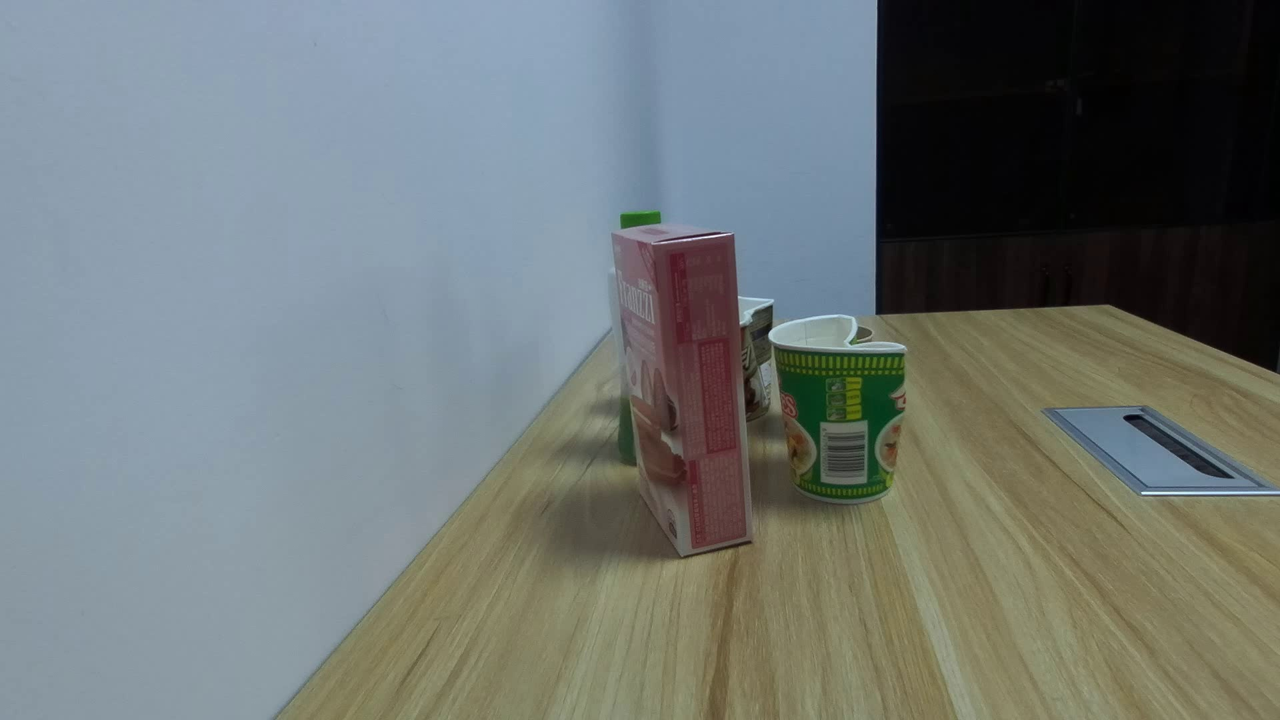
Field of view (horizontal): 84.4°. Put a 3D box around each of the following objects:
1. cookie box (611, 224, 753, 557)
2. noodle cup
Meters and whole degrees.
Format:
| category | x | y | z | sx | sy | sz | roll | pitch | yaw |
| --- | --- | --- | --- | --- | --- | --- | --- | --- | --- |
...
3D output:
| category | x | y | z | sx | sy | sz | roll | pitch | yaw |
| --- | --- | --- | --- | --- | --- | --- | --- | --- | --- |
| cookie box | 0.026 | 0.014 | 0.433 | 0.048 | 0.184 | 0.096 | -9 | 16 | -12 |
| noodle cup | 0.132 | 0.032 | 0.477 | 0.087 | 0.109 | 0.094 | 0 | 17 | 16 |
